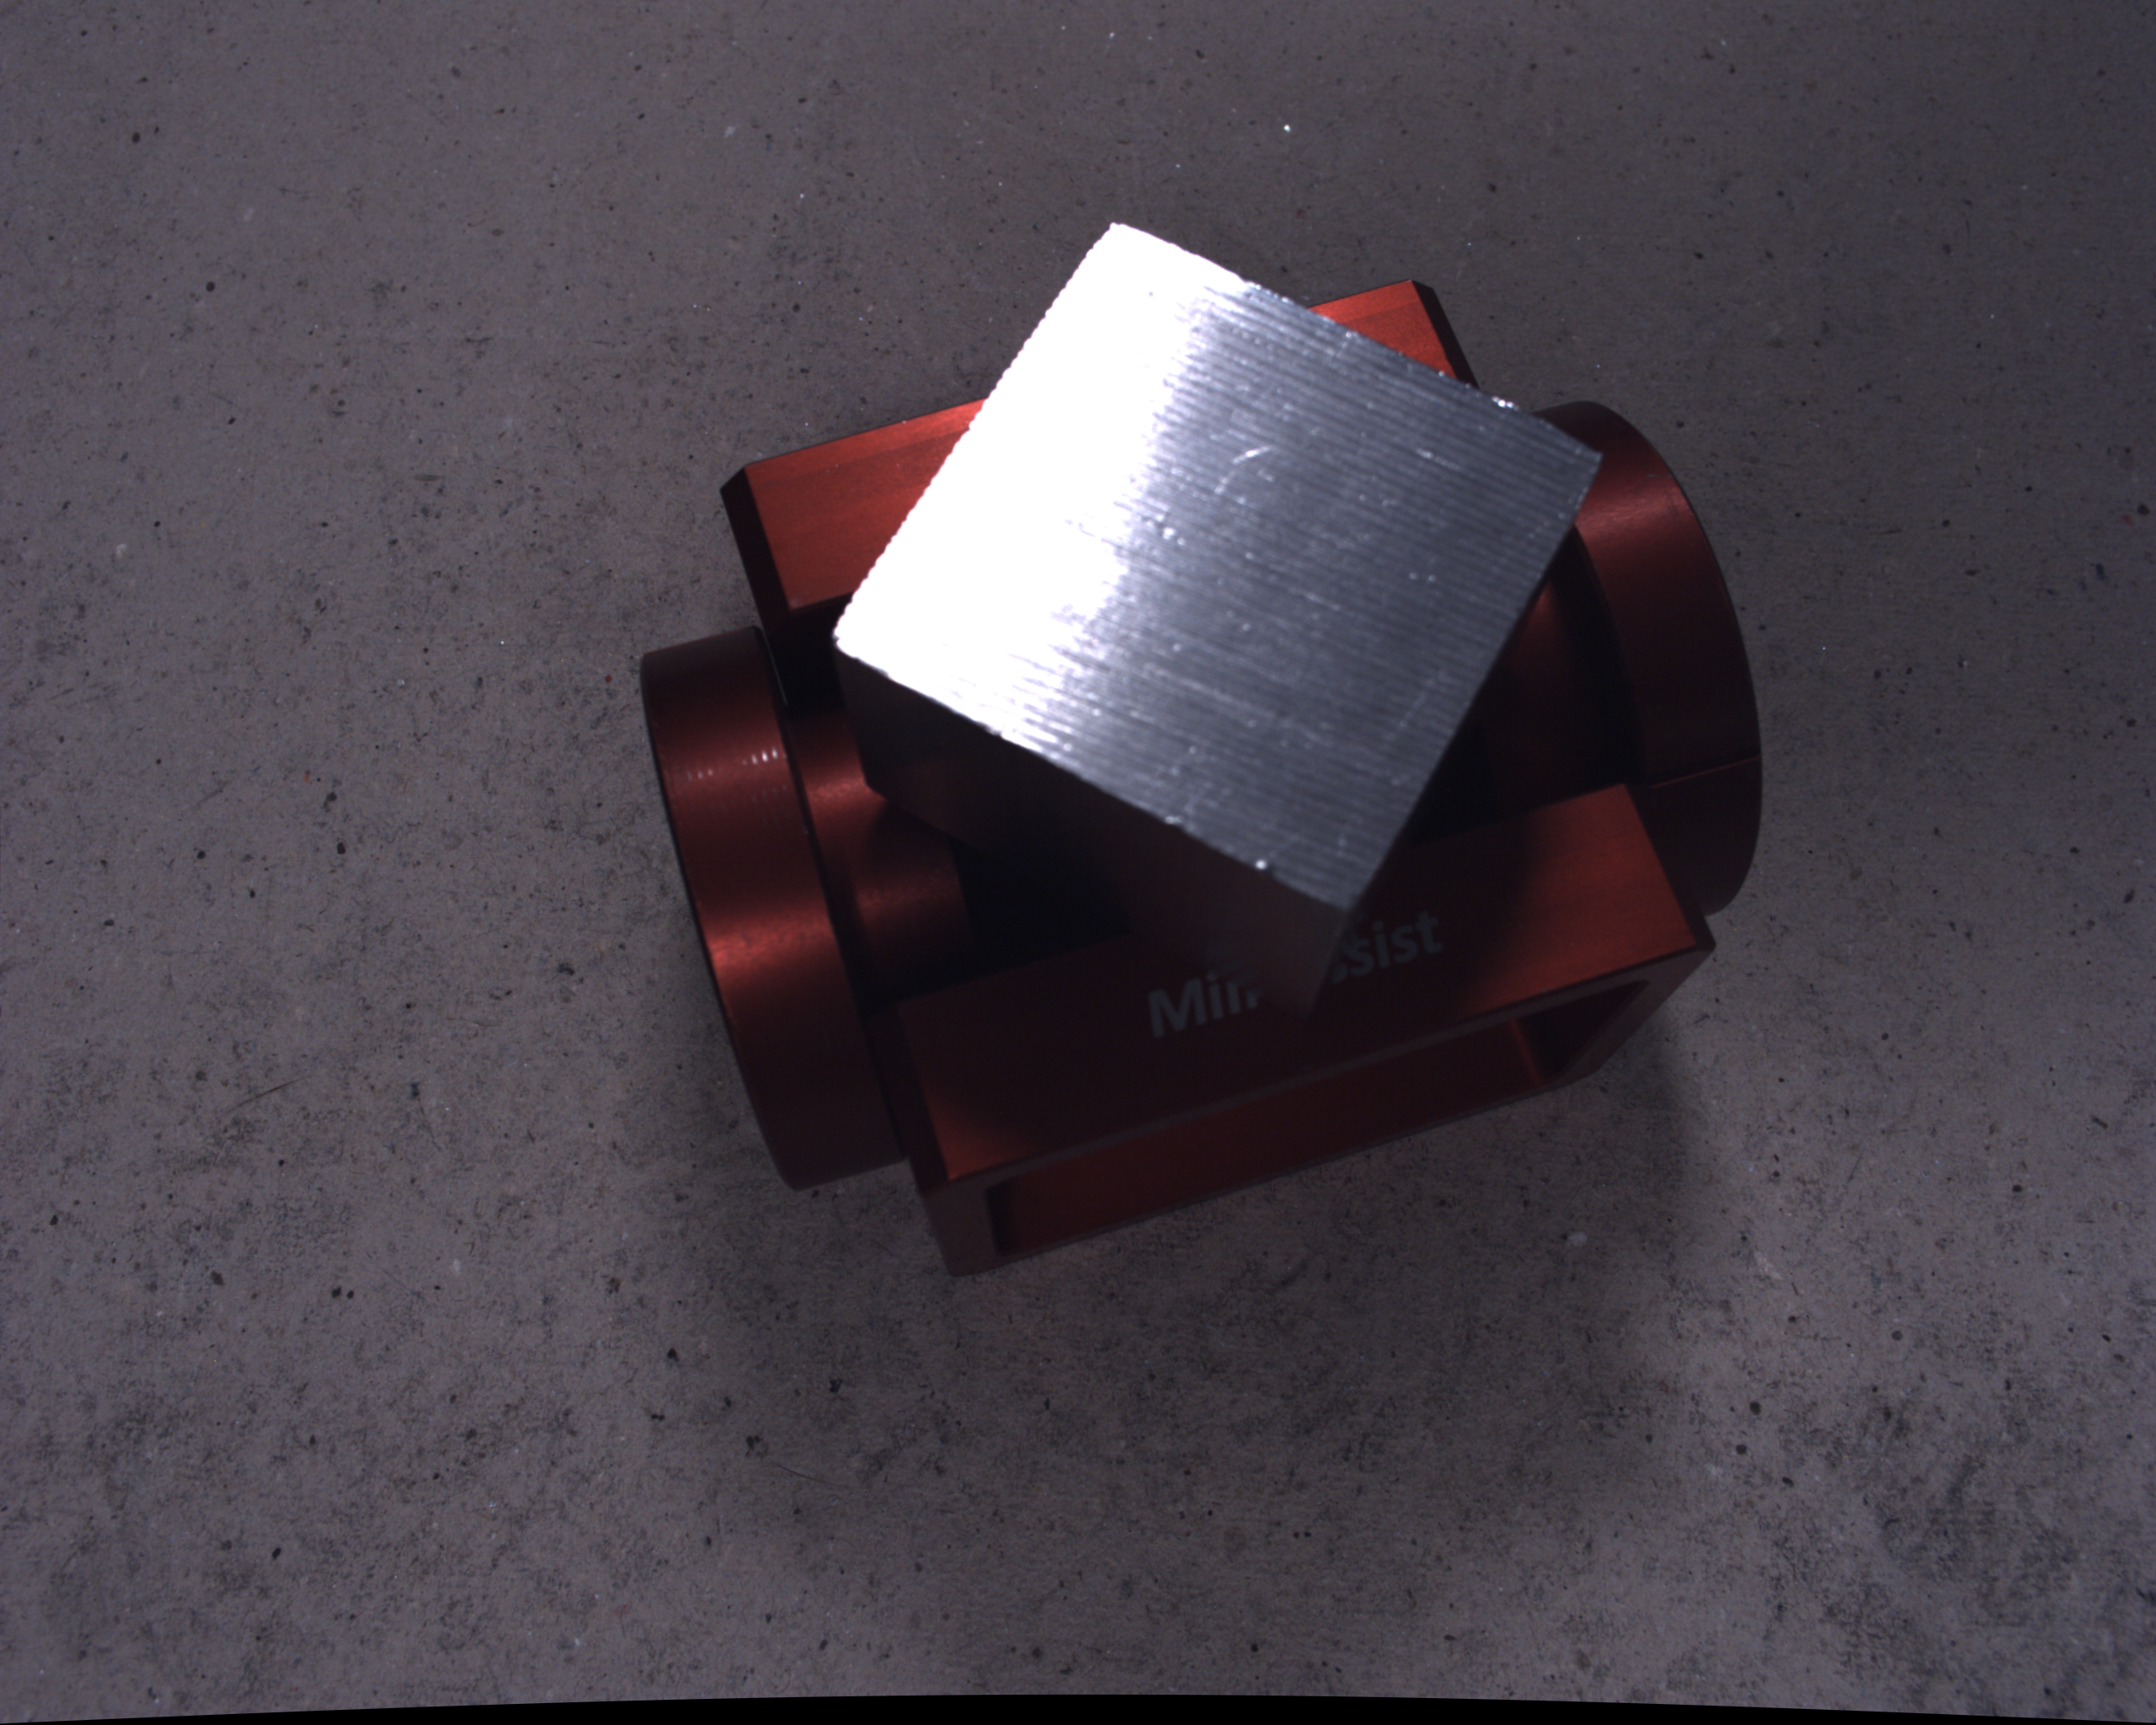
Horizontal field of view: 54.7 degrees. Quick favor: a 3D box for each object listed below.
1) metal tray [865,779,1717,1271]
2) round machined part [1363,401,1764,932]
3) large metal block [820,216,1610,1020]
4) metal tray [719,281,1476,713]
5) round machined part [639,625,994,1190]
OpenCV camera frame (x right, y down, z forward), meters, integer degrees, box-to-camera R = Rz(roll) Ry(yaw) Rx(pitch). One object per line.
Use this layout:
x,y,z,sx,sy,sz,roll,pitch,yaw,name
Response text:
0.034,0.032,0.362,0.131,0.090,0.030,-17,71,-6,metal tray
0.083,-0.032,0.383,0.042,0.098,0.098,-15,71,-5,round machined part
0.020,-0.036,0.311,0.080,0.050,0.080,28,72,9,large metal block
0.005,-0.057,0.397,0.131,0.090,0.030,-17,71,-7,metal tray
-0.043,0.005,0.368,0.042,0.098,0.098,-15,71,-5,round machined part
